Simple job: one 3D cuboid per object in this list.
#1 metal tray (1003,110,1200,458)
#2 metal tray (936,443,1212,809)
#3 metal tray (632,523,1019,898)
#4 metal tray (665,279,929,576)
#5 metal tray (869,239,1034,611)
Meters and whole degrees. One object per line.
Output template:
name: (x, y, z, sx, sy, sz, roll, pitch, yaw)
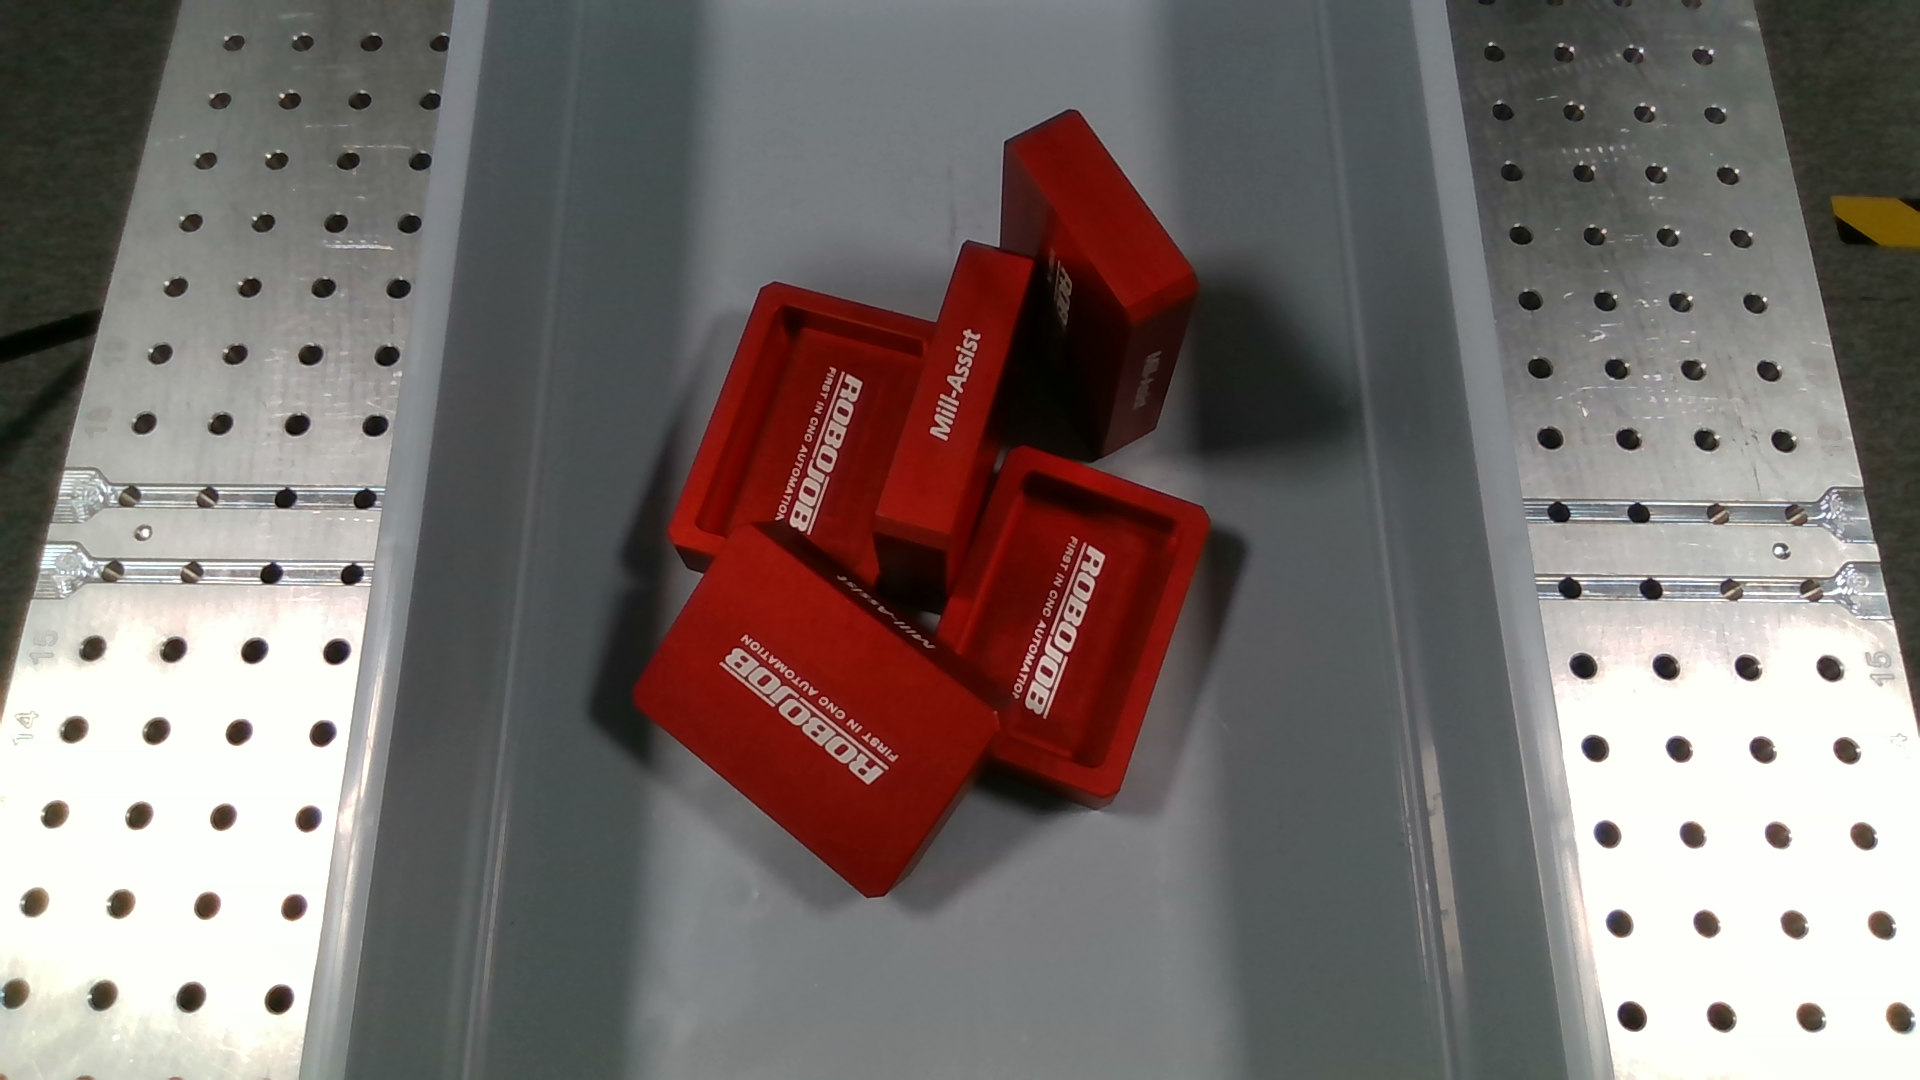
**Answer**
metal tray: (0.052, -0.100, 0.566, 0.030, 0.130, 0.090, -29, 72, -10)
metal tray: (0.041, 0.034, 0.572, 0.090, 0.030, 0.130, 20, 72, 7)
metal tray: (-0.054, 0.064, 0.540, 0.130, 0.030, 0.090, 37, 103, 12)
metal tray: (-0.062, -0.042, 0.597, 0.090, 0.030, 0.130, 15, 71, 5)
metal tray: (-0.002, -0.044, 0.567, 0.030, 0.090, 0.130, 15, 71, 5)
